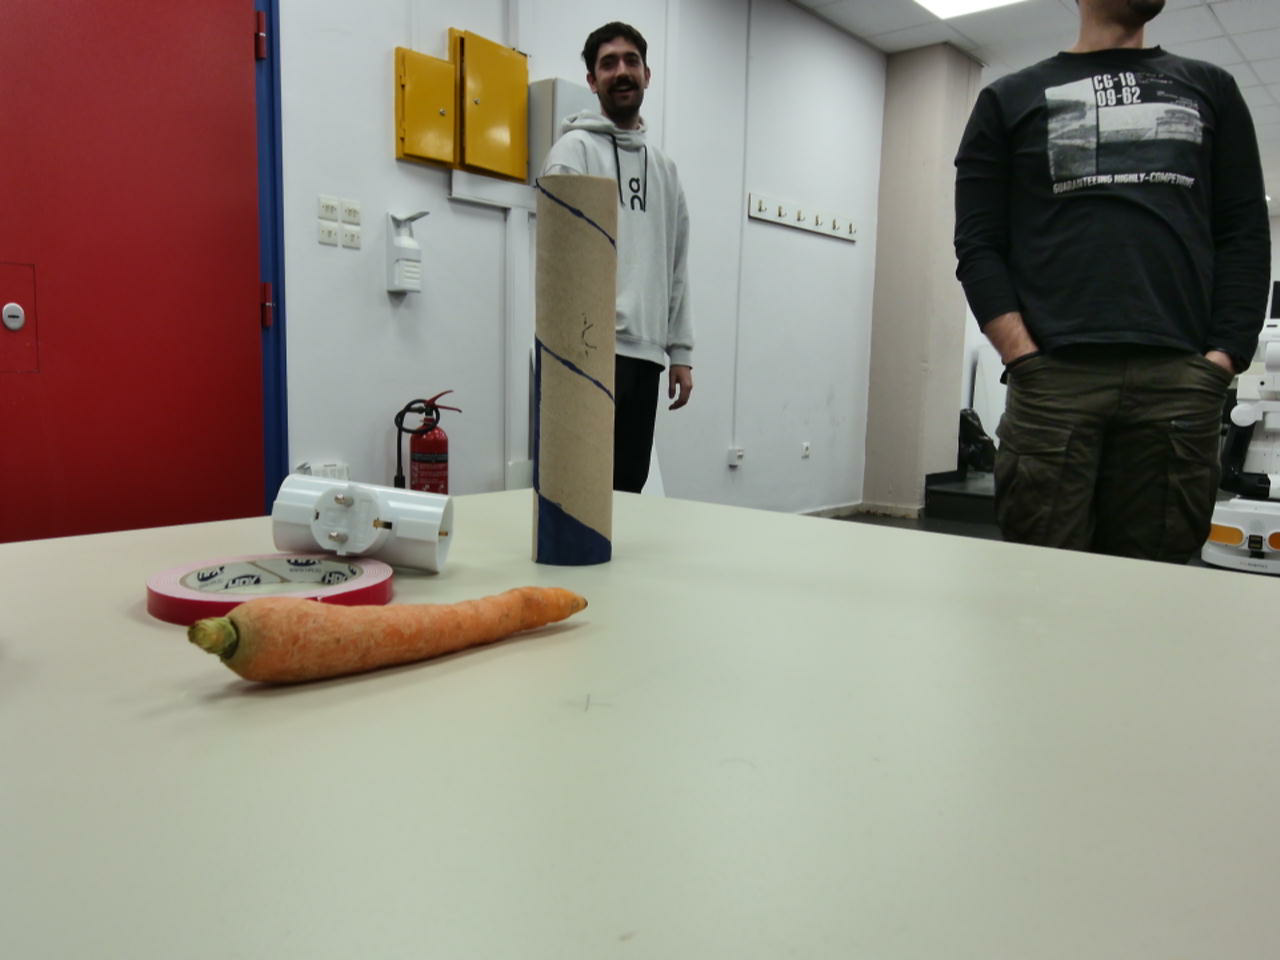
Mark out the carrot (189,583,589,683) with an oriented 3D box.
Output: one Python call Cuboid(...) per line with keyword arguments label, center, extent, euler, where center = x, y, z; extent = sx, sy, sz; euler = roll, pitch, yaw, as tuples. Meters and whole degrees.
Cuboid(label="carrot", center=(-0.086, 0.054, 0.393), extent=(0.173, 0.032, 0.030), euler=(-4, 5, -41))
